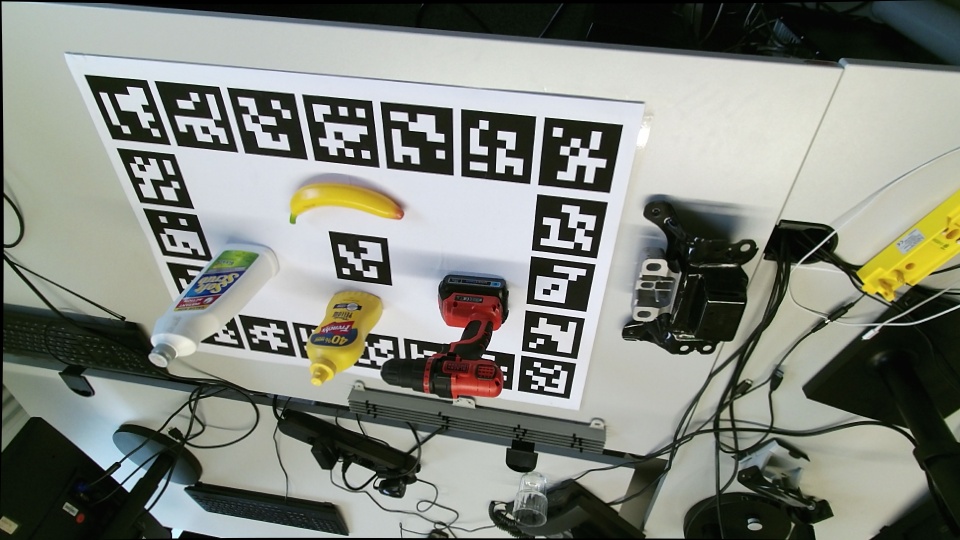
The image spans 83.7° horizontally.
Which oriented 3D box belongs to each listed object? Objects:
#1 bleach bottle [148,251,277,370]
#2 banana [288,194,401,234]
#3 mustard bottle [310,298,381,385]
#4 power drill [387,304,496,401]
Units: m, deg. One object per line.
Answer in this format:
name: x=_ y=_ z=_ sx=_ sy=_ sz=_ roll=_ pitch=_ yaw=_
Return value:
bleach bottle: x=-0.437 y=0.066 z=0.873 sx=0.103 sy=0.250 sz=0.068 roll=14 pitch=126 yaw=2
banana: x=-0.222 y=-0.084 z=0.841 sx=0.198 sy=0.039 sz=0.074 roll=2 pitch=123 yaw=7
mustard bottle: x=-0.245 y=0.125 z=0.914 sx=0.096 sy=0.191 sz=0.058 roll=2 pitch=125 yaw=13
power drill: x=-0.062 y=0.130 z=0.840 sx=0.185 sy=0.186 sz=0.057 roll=1 pitch=125 yaw=7
